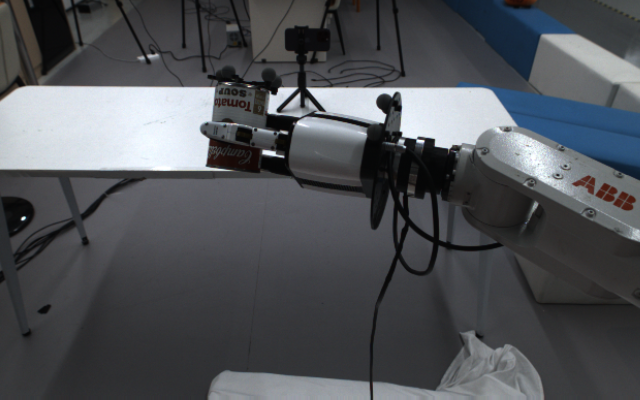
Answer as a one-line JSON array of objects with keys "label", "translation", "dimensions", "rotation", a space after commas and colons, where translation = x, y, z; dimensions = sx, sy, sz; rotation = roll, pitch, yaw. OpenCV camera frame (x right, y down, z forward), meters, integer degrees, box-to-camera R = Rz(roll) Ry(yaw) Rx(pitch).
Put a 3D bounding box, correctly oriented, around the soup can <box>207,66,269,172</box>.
[{"label": "soup can", "translation": [-0.100, -0.087, 0.596], "dimensions": [0.067, 0.101, 0.067], "rotation": [7, 4, 0]}]
